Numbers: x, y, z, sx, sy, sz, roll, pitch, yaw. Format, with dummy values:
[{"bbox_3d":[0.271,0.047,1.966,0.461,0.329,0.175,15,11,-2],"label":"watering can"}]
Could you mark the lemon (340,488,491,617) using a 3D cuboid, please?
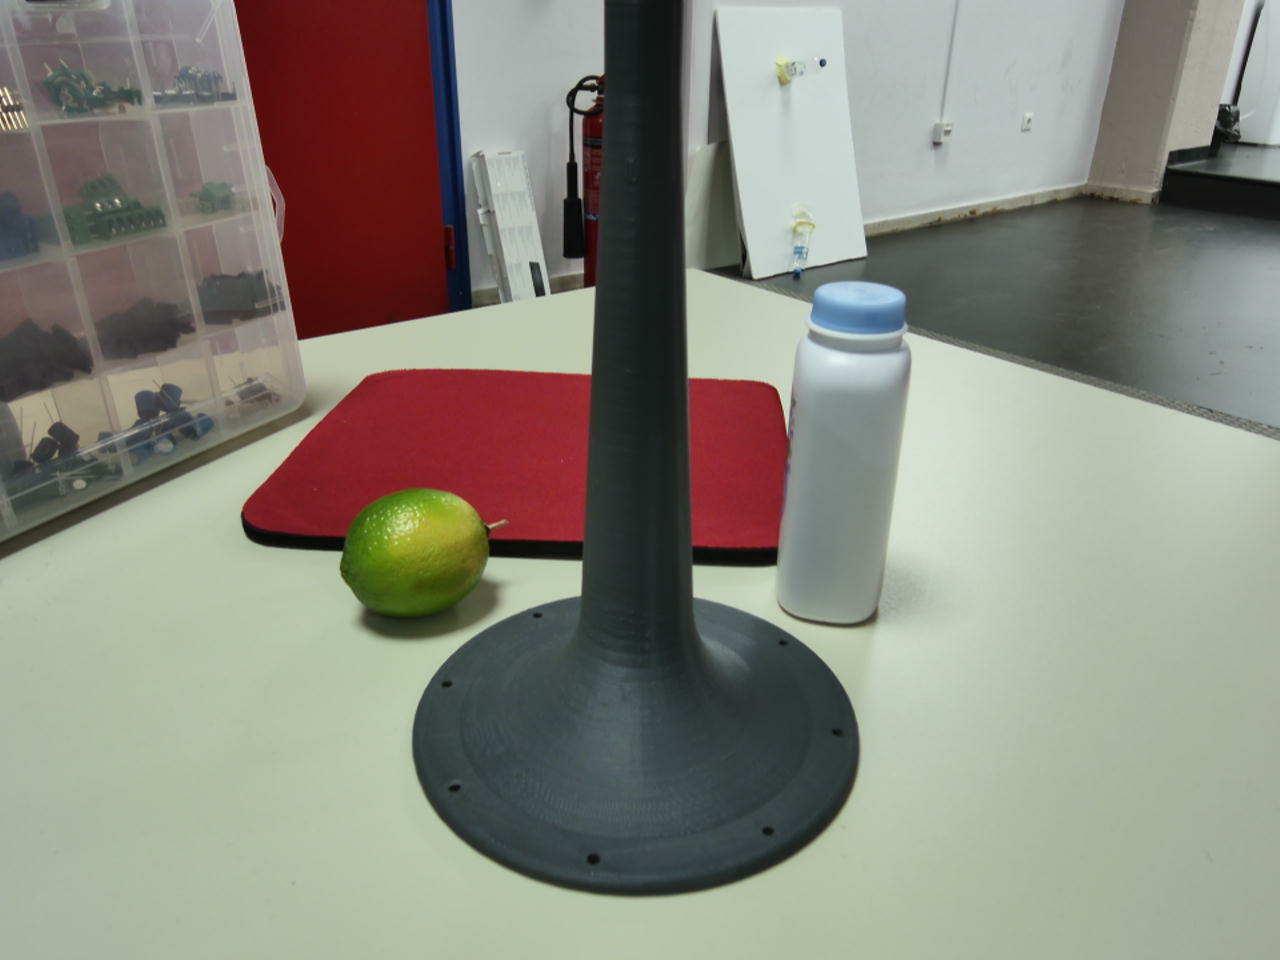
[{"bbox_3d":[-0.089,0.028,0.398,0.055,0.050,0.054,5,24,10],"label":"lemon"}]
